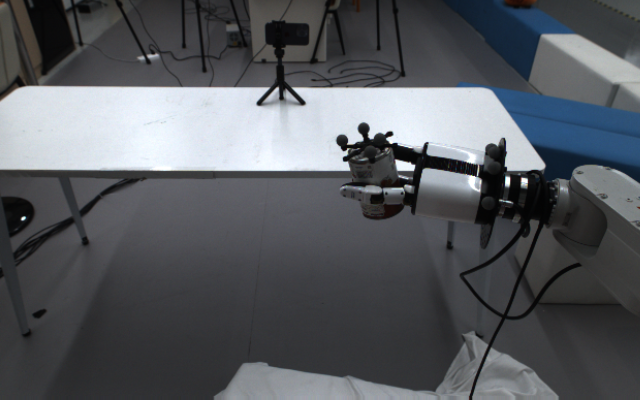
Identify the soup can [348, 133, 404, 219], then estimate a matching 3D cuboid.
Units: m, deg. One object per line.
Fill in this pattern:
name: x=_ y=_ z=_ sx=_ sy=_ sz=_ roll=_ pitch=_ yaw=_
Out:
soup can: x=0.084 y=-0.031 z=0.717 sx=0.067 sy=0.101 sz=0.067 roll=-13 pitch=31 yaw=8
